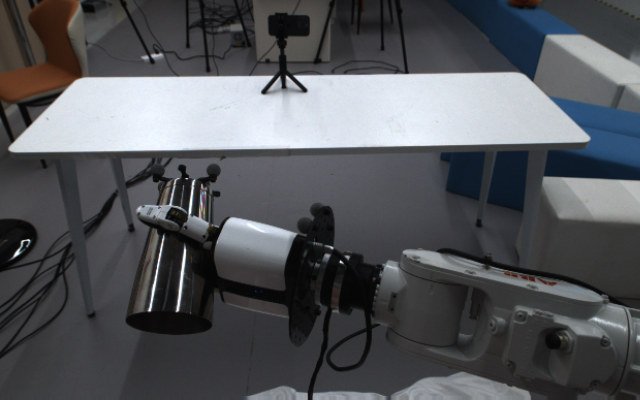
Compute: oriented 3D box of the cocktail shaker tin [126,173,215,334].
[{"bbox_3d":[-0.167,0.063,0.568,0.093,0.093,0.170,0,59,-3],"label":"cocktail shaker tin"}]
